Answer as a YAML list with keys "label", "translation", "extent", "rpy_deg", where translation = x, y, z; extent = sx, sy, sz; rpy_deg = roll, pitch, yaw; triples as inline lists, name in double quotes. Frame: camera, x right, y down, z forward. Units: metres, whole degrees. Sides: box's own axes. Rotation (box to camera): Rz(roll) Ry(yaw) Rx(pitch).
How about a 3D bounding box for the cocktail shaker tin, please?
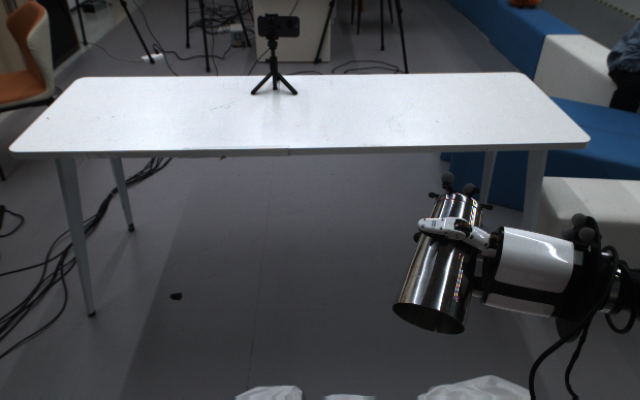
- label: "cocktail shaker tin"
  translation: [0.163, 0.077, 0.635]
  extent: [0.093, 0.093, 0.170]
  rpy_deg: [15, 61, 18]
